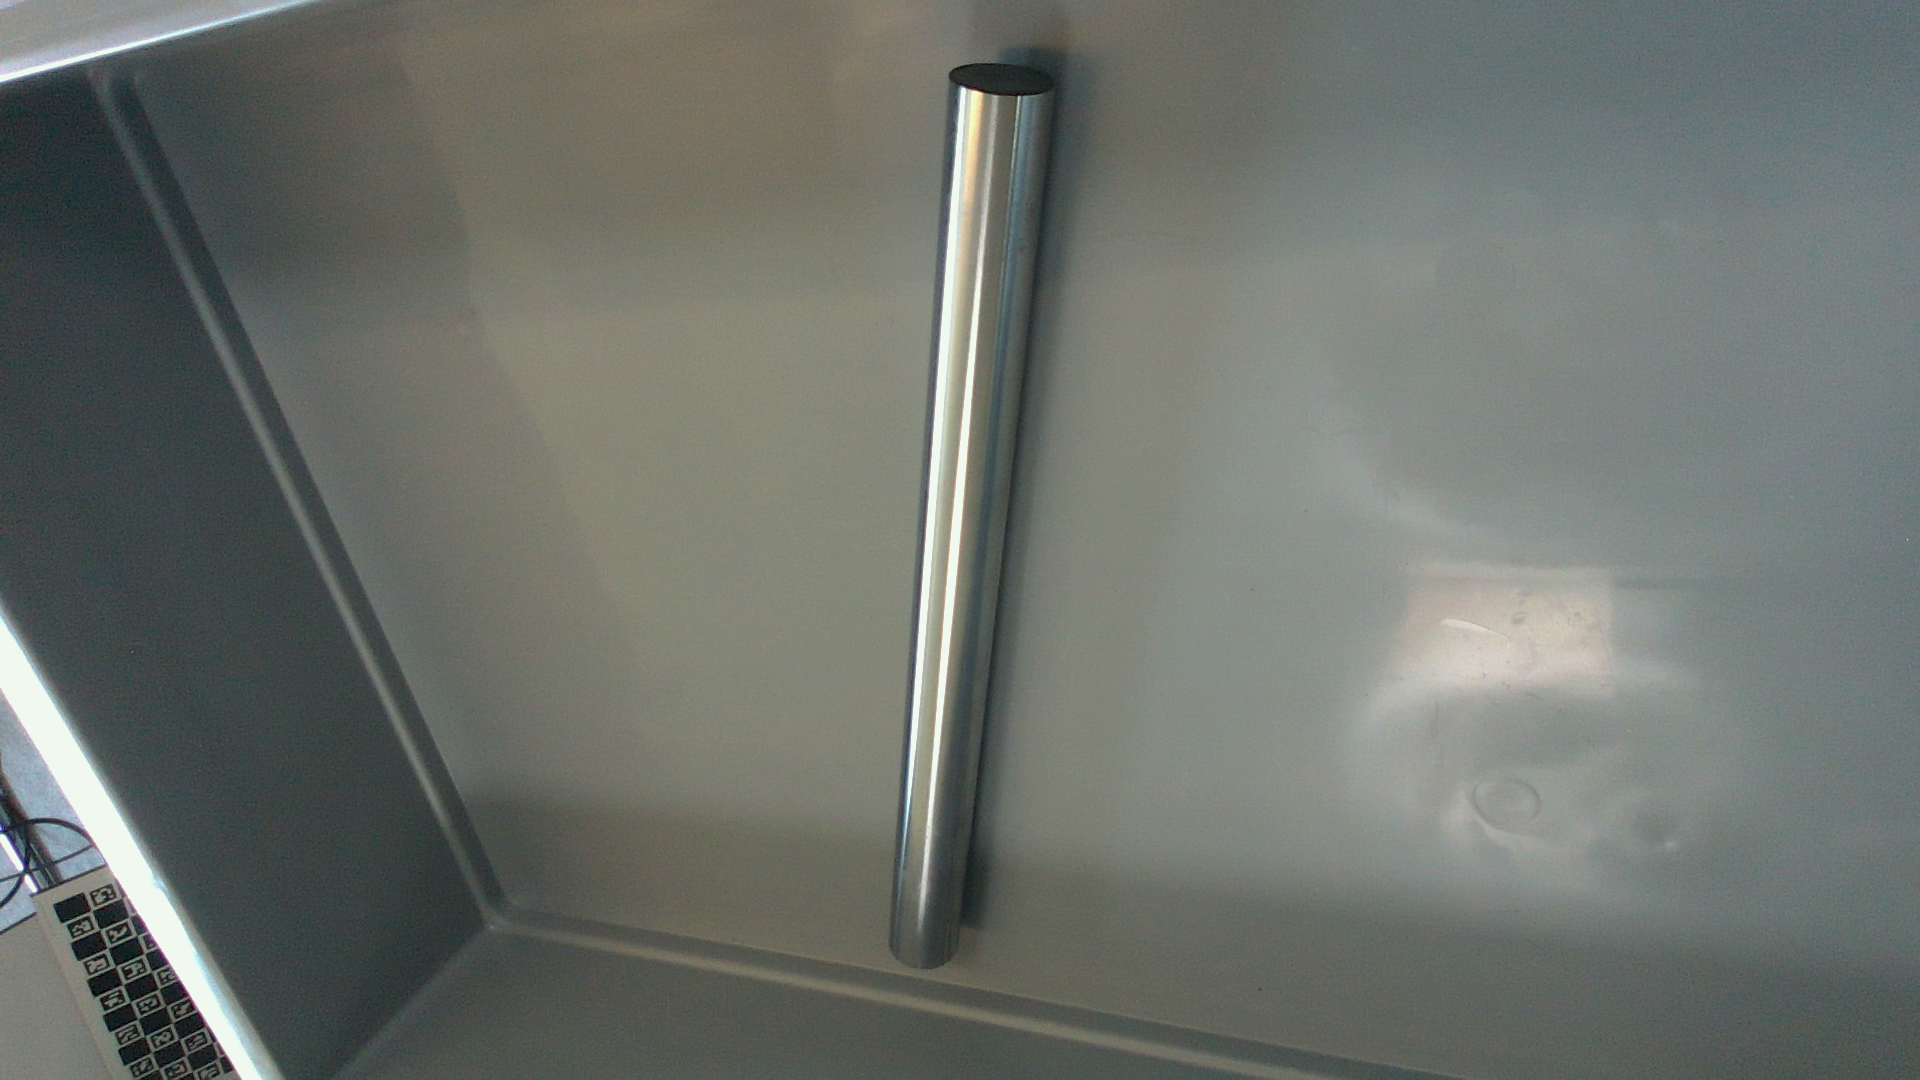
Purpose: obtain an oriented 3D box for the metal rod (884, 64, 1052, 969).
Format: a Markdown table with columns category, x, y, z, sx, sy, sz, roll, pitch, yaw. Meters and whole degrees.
| category | x | y | z | sx | sy | sz | roll | pitch | yaw |
| --- | --- | --- | --- | --- | --- | --- | --- | --- | --- |
| metal rod | -0.003 | 0.017 | 0.402 | 0.025 | 0.025 | 0.300 | 18 | 126 | 18 |
